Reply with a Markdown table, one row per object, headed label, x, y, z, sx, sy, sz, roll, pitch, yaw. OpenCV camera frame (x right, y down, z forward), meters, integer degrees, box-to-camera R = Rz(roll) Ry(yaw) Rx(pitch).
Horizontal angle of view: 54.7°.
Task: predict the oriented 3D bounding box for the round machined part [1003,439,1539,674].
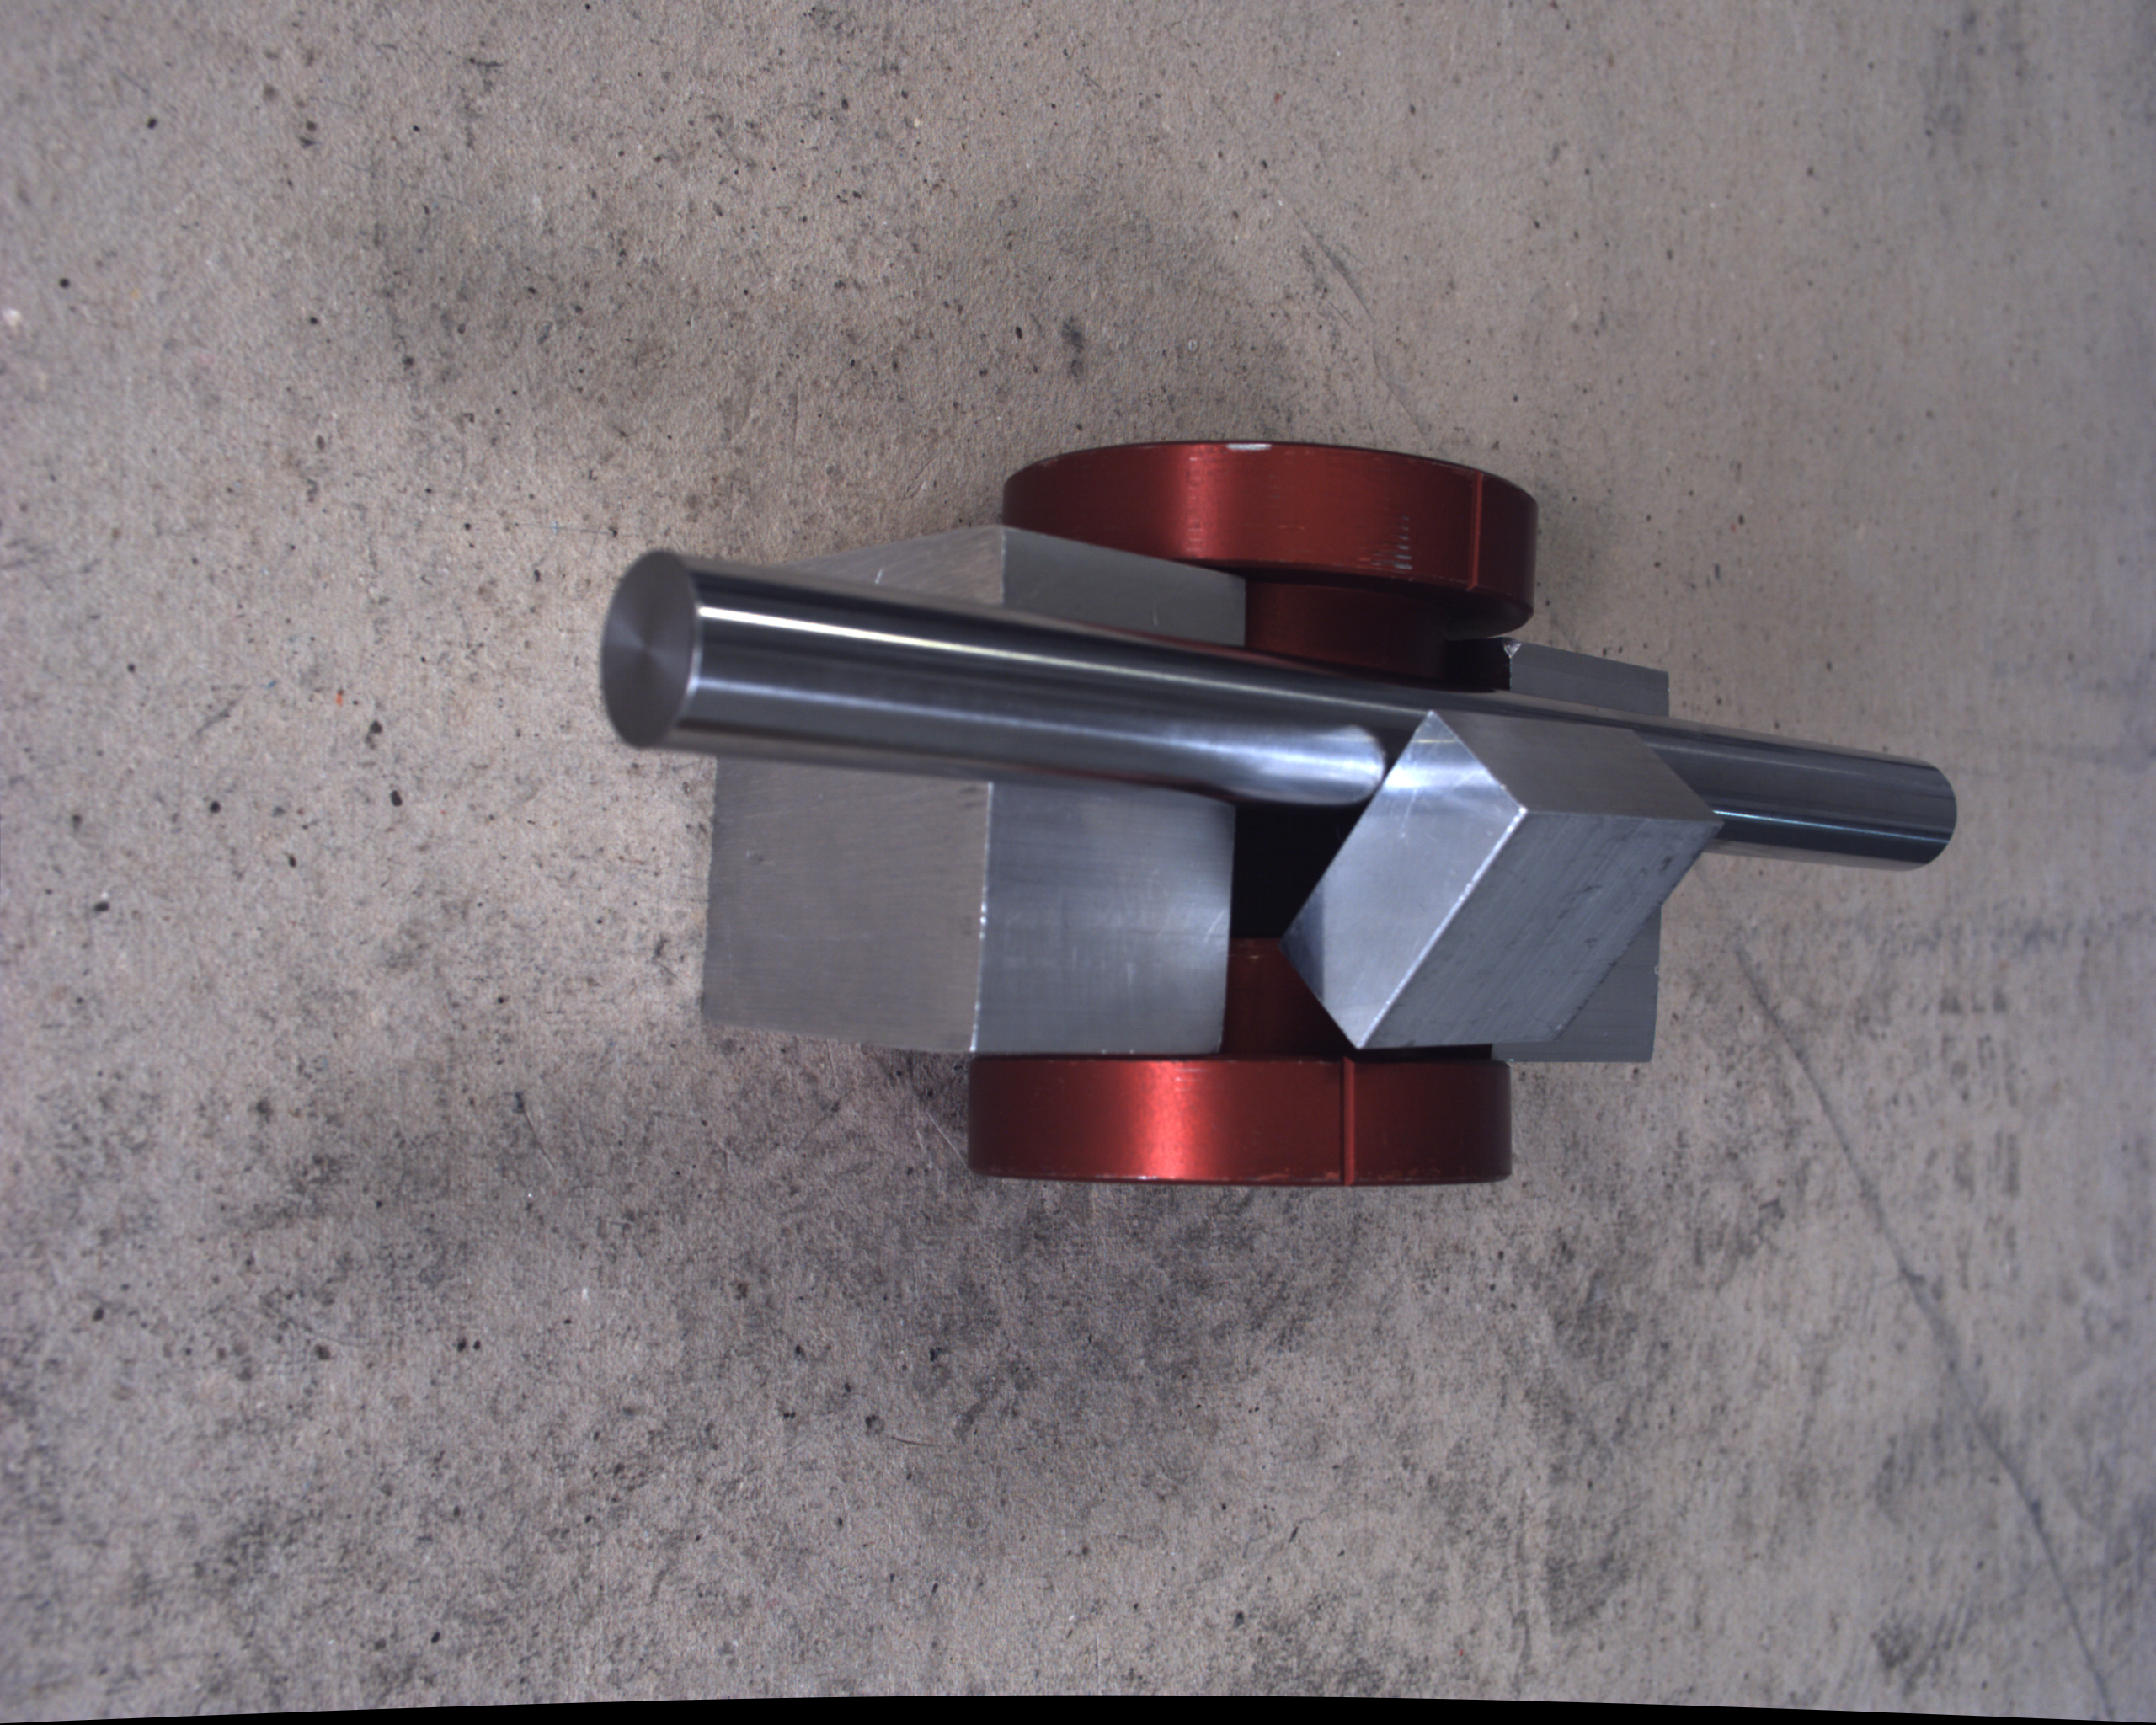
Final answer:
| label | x | y | z | sx | sy | sz | roll | pitch | yaw |
| --- | --- | --- | --- | --- | --- | --- | --- | --- | --- |
| round machined part | 0.034 | -0.047 | 0.387 | 0.099 | 0.098 | 0.042 | 5 | 88 | -40 |

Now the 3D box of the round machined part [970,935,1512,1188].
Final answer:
| label | x | y | z | sx | sy | sz | roll | pitch | yaw |
| --- | --- | --- | --- | --- | --- | --- | --- | --- | --- |
| round machined part | 0.030 | 0.037 | 0.383 | 0.099 | 0.098 | 0.042 | 6 | 81 | -40 |

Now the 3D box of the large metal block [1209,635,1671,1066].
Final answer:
| label | x | y | z | sx | sy | sz | roll | pitch | yaw |
| --- | --- | --- | --- | --- | --- | --- | --- | --- | --- |
| large metal block | 0.072 | -0.001 | 0.431 | 0.050 | 0.080 | 0.080 | 5 | 87 | -40 |

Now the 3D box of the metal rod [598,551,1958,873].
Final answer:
| label | x | y | z | sx | sy | sz | roll | pitch | yaw |
| --- | --- | --- | --- | --- | --- | --- | --- | --- | --- |
| metal rod | 0.062 | -0.018 | 0.354 | 0.302 | 0.025 | 0.025 | 4 | 88 | -40 |

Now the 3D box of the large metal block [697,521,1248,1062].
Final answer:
| label | x | y | z | sx | sy | sz | roll | pitch | yaw |
| --- | --- | --- | --- | --- | --- | --- | --- | --- | --- |
| large metal block | -0.020 | -0.009 | 0.354 | 0.050 | 0.080 | 0.080 | 6 | 87 | -40 |

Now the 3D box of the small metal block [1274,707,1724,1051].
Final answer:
| label | x | y | z | sx | sy | sz | roll | pitch | yaw |
| --- | --- | --- | --- | --- | --- | --- | --- | --- | --- |
| small metal block | 0.069 | 0.004 | 0.342 | 0.050 | 0.025 | 0.050 | 2 | 129 | -38 |
